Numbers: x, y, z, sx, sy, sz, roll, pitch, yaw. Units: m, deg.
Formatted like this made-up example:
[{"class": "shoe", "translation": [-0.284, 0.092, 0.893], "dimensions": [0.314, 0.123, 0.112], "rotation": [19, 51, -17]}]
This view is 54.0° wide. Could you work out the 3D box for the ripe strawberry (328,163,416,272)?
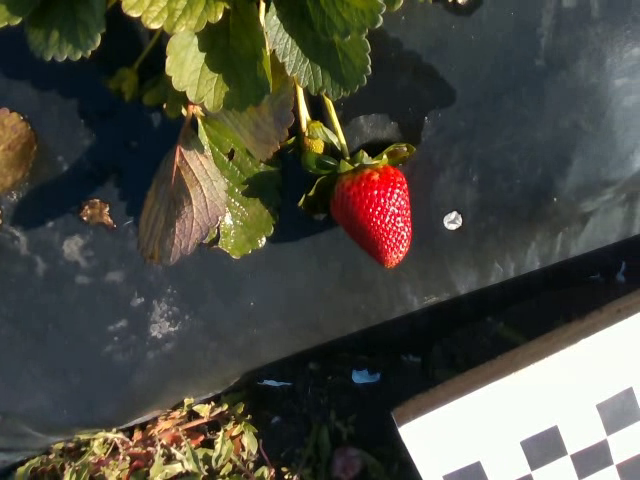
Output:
[{"class": "ripe strawberry", "translation": [0.027, -0.010, 0.284], "dimensions": [0.045, 0.055, 0.042], "rotation": [-20, -11, -6]}]
